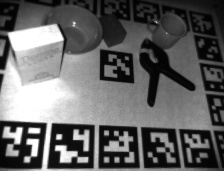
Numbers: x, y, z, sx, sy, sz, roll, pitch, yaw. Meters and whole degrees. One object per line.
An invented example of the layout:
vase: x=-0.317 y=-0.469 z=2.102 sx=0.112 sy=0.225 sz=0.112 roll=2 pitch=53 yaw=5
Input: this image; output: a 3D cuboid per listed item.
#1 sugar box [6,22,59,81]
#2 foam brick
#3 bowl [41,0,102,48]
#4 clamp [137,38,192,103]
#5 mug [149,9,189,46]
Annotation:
sugar box: x=-0.172 y=-0.069 z=0.481 sx=0.093 sy=0.175 sz=0.045 roll=-18 pitch=77 yaw=-23
foam brick: x=0.000 y=-0.172 z=0.648 sx=0.053 sy=0.051 sz=0.078 roll=-21 pitch=77 yaw=-21
bowl: x=-0.112 y=-0.163 z=0.602 sx=0.163 sy=0.055 sz=0.161 roll=7 pitch=68 yaw=-15
clamp: x=0.131 y=-0.063 z=0.641 sx=0.167 sy=0.036 sz=0.202 roll=-17 pitch=76 yaw=-20
mug: x=0.170 y=-0.185 z=0.680 sx=0.117 sy=0.081 sz=0.093 roll=32 pitch=64 yaw=-6
